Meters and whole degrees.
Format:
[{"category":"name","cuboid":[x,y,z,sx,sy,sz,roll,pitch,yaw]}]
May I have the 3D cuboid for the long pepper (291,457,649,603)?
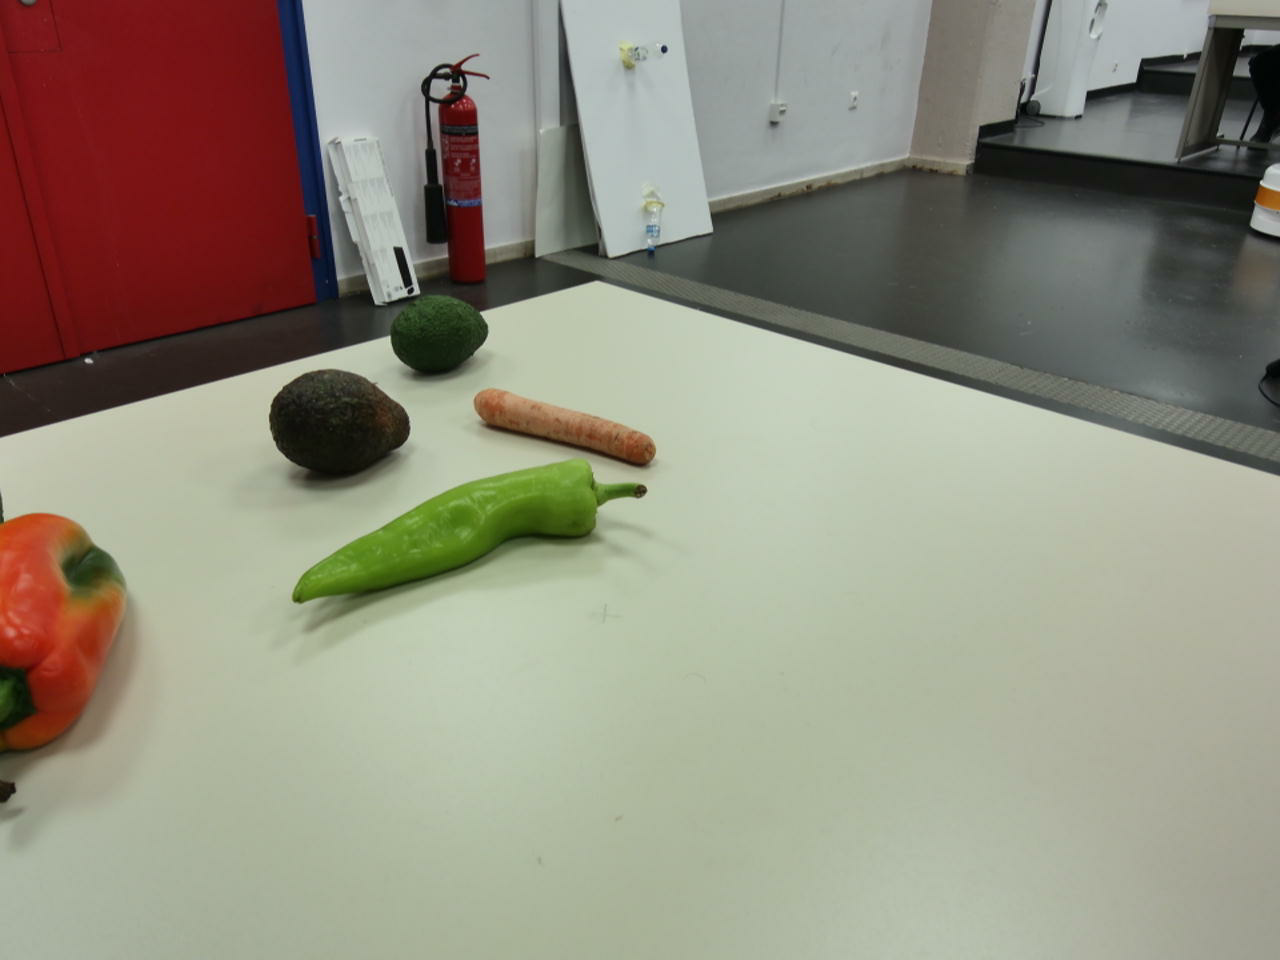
[{"category":"long pepper","cuboid":[-0.098,0.026,0.565,0.204,0.045,0.065,-15,29,-29]}]
